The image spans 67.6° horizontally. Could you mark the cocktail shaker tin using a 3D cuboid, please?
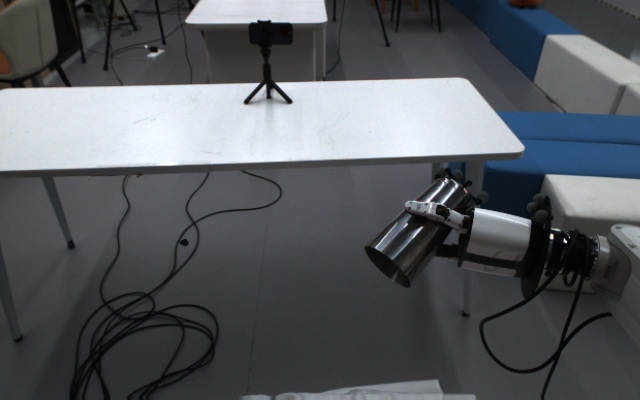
[{"bbox_3d":[0.160,0.039,0.763,0.170,0.093,0.093,-43,50,-14],"label":"cocktail shaker tin"}]
